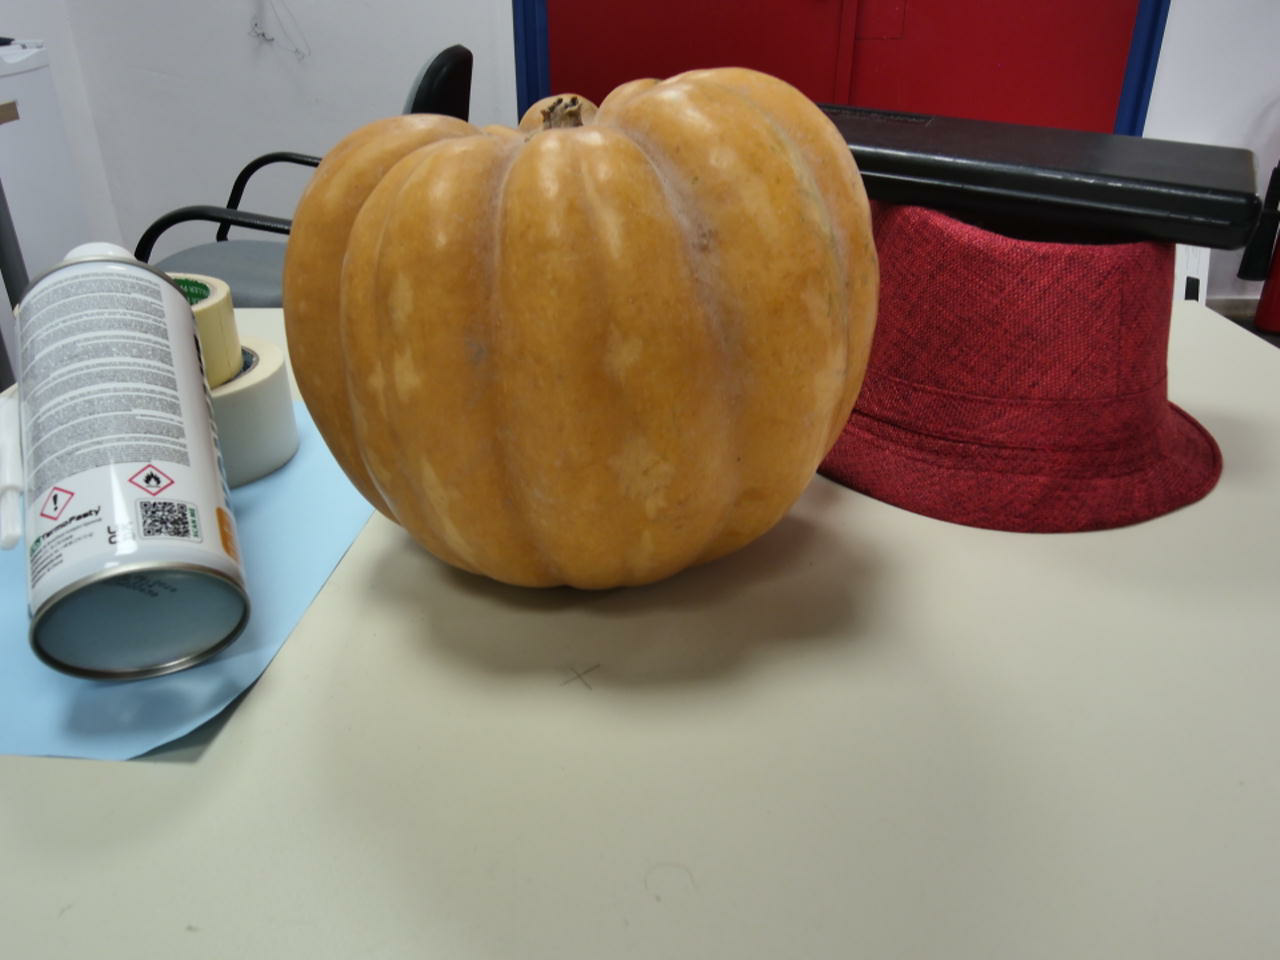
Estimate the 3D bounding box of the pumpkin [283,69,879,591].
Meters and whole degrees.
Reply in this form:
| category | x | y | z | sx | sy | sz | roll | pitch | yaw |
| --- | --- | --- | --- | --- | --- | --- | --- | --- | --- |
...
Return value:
| category | x | y | z | sx | sy | sz | roll | pitch | yaw |
| --- | --- | --- | --- | --- | --- | --- | --- | --- | --- |
| pumpkin | -0.019 | -0.061 | 0.404 | 0.230 | 0.194 | 0.230 | 0 | 25 | 0 |
